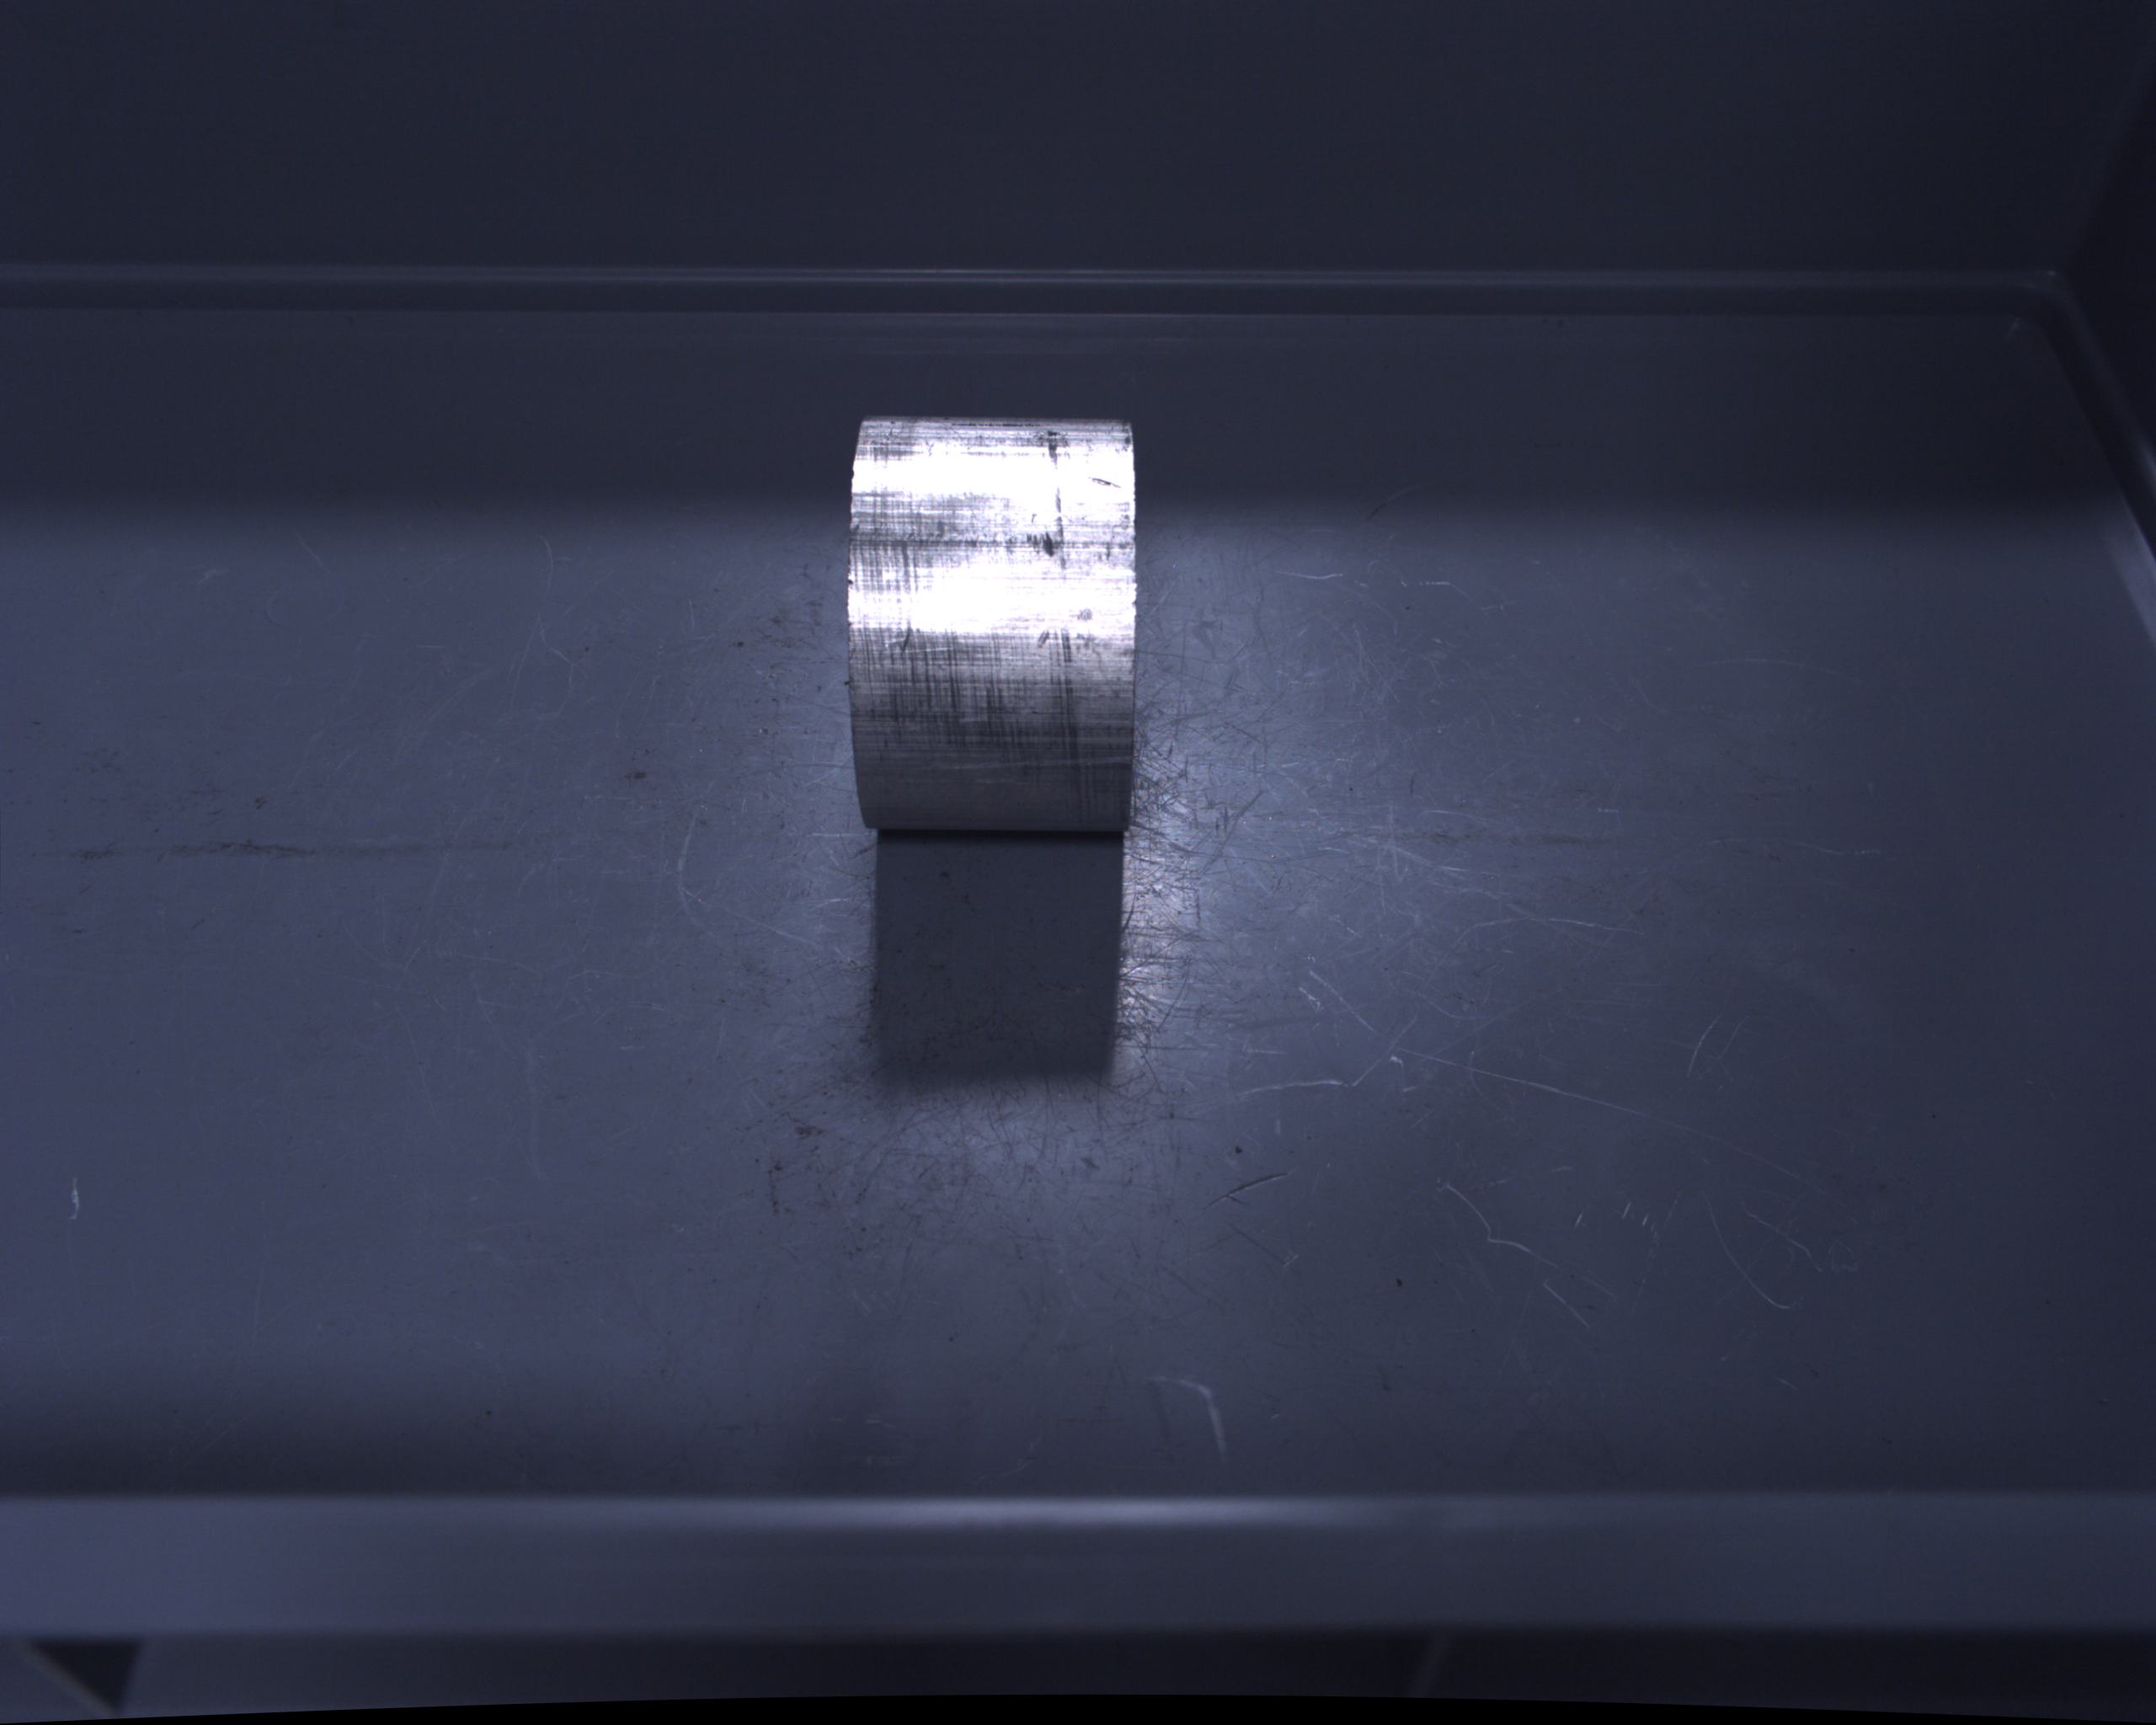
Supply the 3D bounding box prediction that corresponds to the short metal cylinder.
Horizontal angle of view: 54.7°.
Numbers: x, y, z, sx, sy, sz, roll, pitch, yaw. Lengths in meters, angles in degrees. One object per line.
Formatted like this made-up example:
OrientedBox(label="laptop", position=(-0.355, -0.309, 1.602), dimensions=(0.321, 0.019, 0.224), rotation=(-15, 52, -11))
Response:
OrientedBox(label="short metal cylinder", position=(-0.016, -0.046, 0.405), dimensions=(0.050, 0.080, 0.080), rotation=(0, 50, 0))
